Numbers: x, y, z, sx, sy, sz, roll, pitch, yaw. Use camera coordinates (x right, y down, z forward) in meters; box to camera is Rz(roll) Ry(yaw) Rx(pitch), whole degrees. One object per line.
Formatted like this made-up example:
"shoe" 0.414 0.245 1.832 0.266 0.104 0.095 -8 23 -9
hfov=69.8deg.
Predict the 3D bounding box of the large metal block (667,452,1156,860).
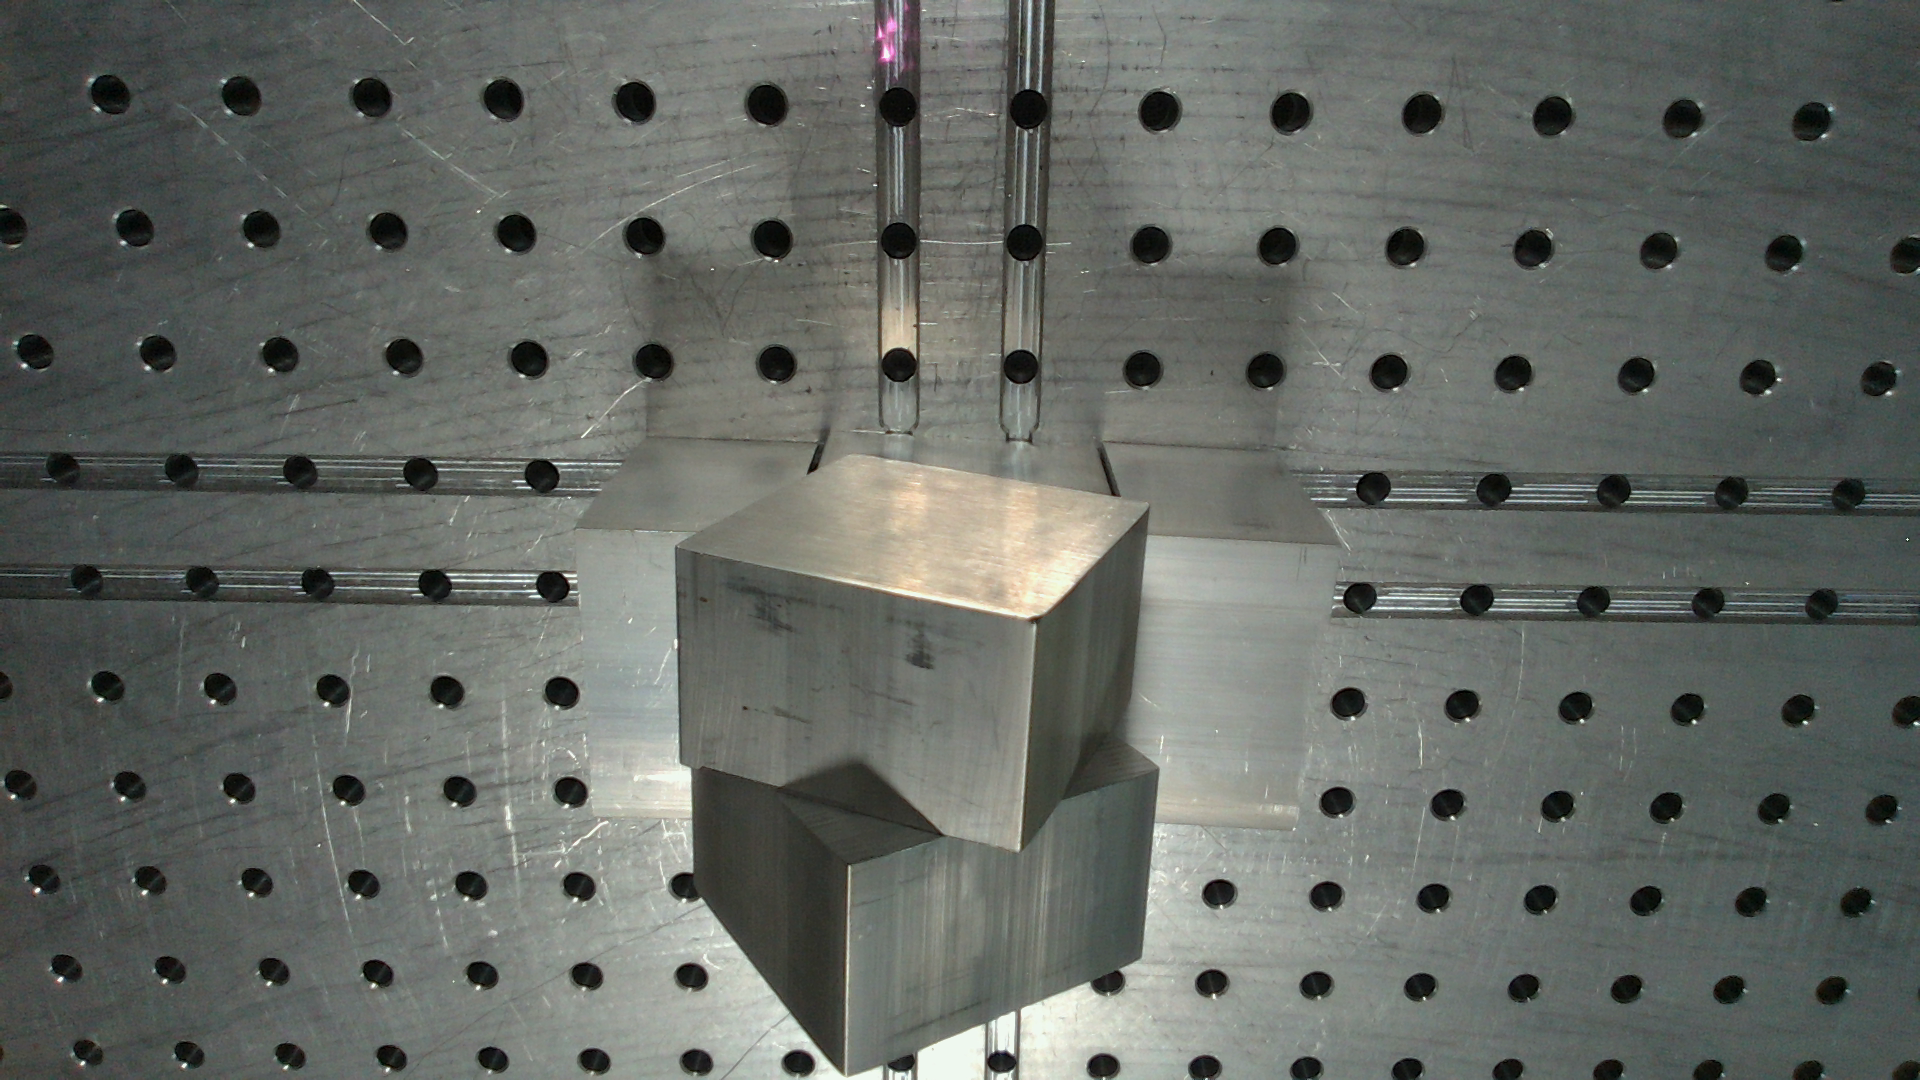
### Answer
"large metal block" -0.008 0.020 0.307 0.080 0.080 0.050 10 111 20

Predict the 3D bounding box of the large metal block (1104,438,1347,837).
"large metal block" 0.064 0.023 0.376 0.050 0.080 0.080 4 110 -1

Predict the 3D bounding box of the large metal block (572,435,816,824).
"large metal block" -0.067 0.021 0.375 0.050 0.080 0.080 2 110 -1

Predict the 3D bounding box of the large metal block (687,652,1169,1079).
"large metal block" -0.010 0.068 0.321 0.080 0.080 0.050 -10 113 -32

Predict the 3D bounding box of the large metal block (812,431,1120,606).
"large metal block" -0.001 0.016 0.387 0.080 0.050 0.080 2 110 -1
